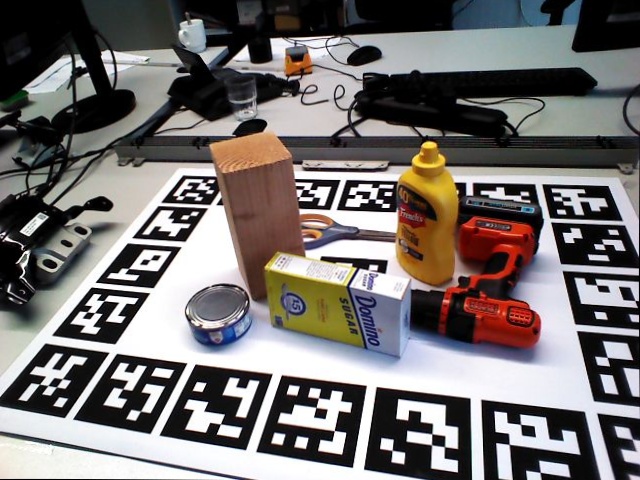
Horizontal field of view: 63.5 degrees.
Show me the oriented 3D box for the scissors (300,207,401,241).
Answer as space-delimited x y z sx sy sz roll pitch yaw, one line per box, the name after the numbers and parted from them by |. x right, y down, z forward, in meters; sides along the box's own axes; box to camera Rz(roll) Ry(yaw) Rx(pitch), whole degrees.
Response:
0.033 -0.021 0.805 0.204 0.016 0.087 4 35 16 | scissors

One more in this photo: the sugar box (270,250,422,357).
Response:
0.030 0.076 0.623 0.177 0.093 0.045 12 39 22 | sugar box

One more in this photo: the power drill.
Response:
0.189 0.040 0.663 0.185 0.057 0.185 11 49 24 | power drill

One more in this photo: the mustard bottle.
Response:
0.146 -0.039 0.677 0.058 0.192 0.096 -24 41 -18 | mustard bottle

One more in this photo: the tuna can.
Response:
-0.130 0.093 0.672 0.086 0.034 0.085 -5 39 4 | tuna can

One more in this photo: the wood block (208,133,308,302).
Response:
-0.076 -0.029 0.698 0.091 0.207 0.089 -16 39 -9 | wood block
